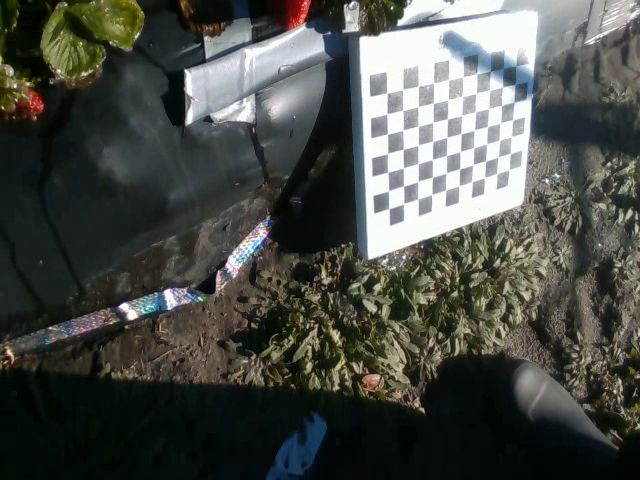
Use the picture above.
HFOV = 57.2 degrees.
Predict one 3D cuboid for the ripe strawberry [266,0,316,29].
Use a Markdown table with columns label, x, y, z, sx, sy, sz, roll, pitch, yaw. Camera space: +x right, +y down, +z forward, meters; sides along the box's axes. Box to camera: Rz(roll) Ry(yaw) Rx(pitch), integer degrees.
| label | x | y | z | sx | sy | sz | roll | pitch | yaw |
| --- | --- | --- | --- | --- | --- | --- | --- | --- | --- |
| ripe strawberry | -0.030 | -0.246 | 0.616 | 0.061 | 0.065 | 0.057 | 17 | -35 | -40 |
